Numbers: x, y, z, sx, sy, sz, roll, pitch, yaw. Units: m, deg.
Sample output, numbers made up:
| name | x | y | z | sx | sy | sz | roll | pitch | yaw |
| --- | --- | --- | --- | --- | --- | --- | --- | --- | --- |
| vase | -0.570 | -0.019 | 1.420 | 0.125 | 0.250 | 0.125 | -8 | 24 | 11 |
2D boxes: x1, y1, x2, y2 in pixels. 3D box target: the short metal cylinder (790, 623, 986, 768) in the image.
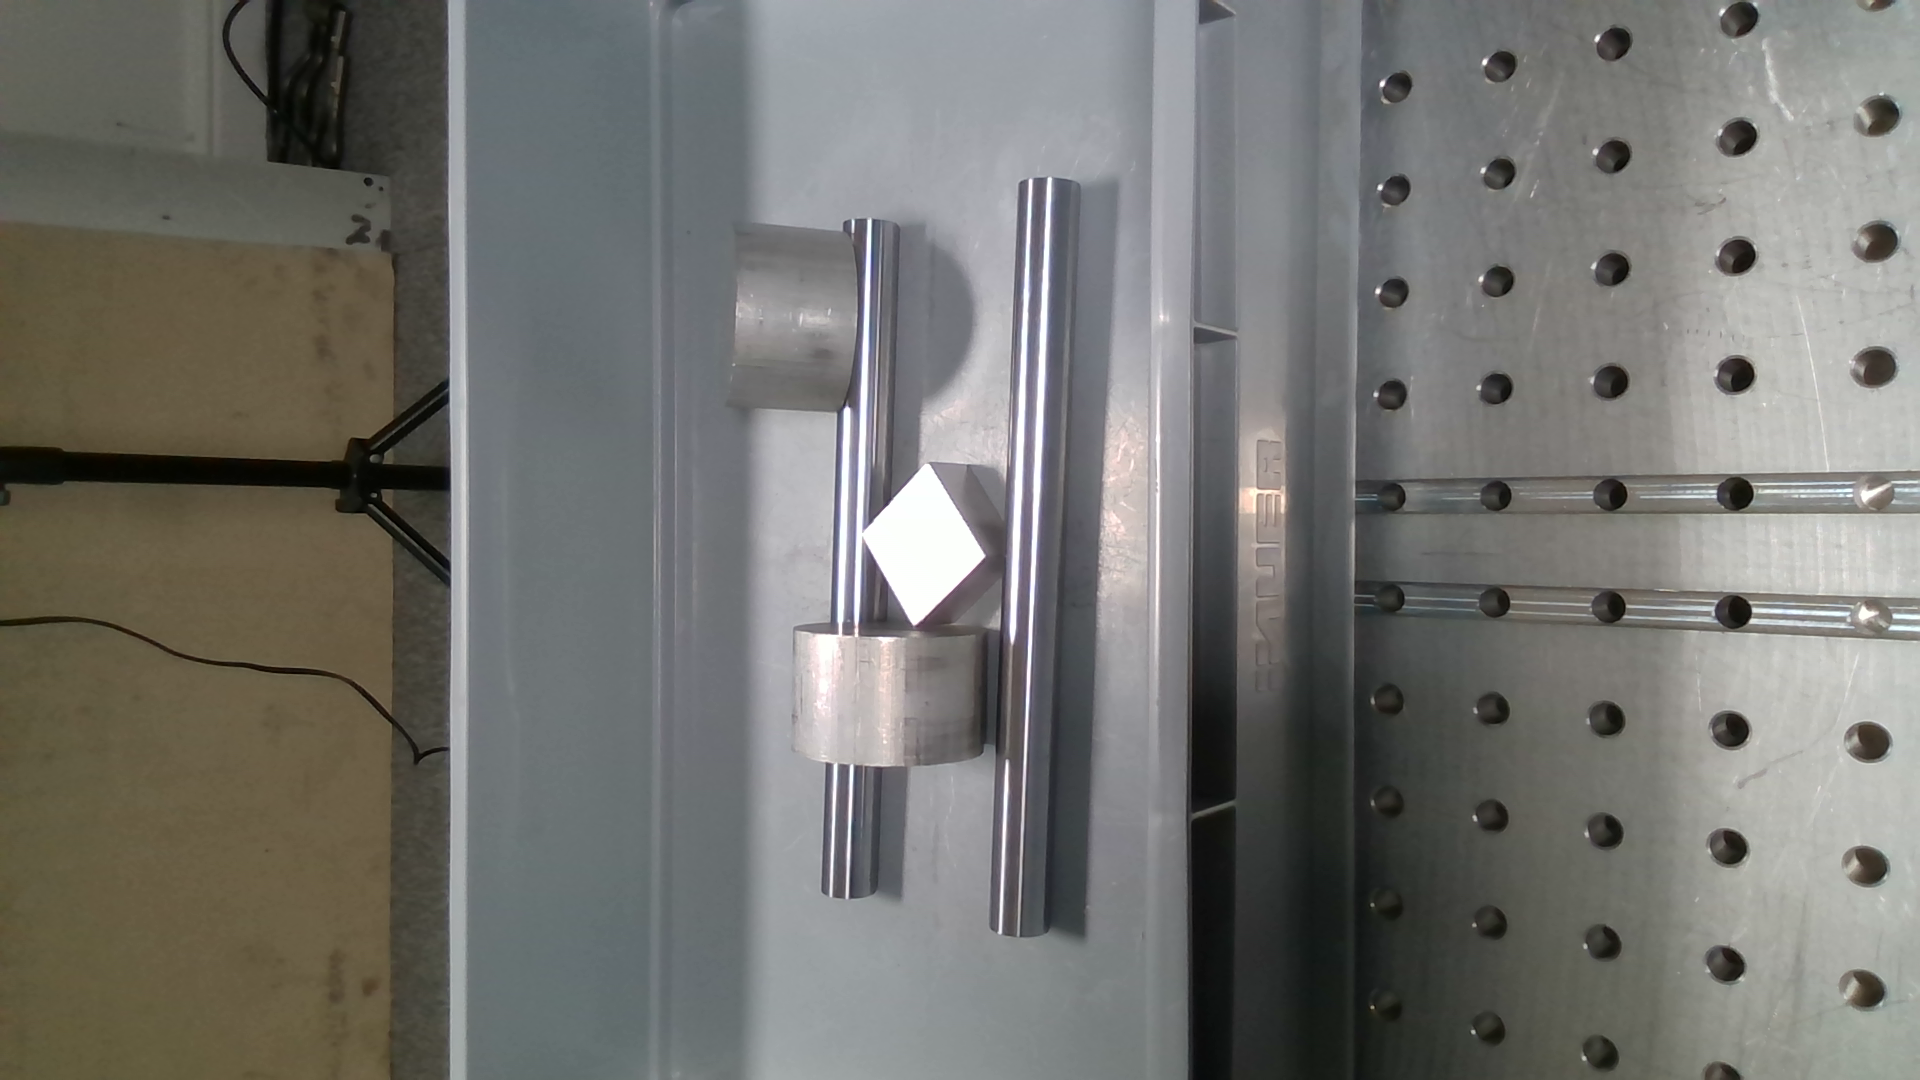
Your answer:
| name | x | y | z | sx | sy | sz | roll | pitch | yaw |
| --- | --- | --- | --- | --- | --- | --- | --- | --- | --- |
| short metal cylinder | -0.030 | 0.062 | 0.571 | 0.080 | 0.080 | 0.050 | 2 | 92 | 40 |

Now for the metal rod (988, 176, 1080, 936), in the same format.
| name | x | y | z | sx | sy | sz | roll | pitch | yaw |
| --- | --- | --- | --- | --- | --- | --- | --- | --- | --- |
| metal rod | 0.029 | 0.008 | 0.555 | 0.025 | 0.025 | 0.300 | 4 | 93 | 40 |

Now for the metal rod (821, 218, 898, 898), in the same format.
| name | x | y | z | sx | sy | sz | roll | pitch | yaw |
| --- | --- | --- | --- | --- | --- | --- | --- | --- | --- |
| metal rod | -0.045 | 0.009 | 0.618 | 0.025 | 0.025 | 0.300 | 4 | 93 | 40 |

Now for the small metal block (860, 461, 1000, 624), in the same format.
| name | x | y | z | sx | sy | sz | roll | pitch | yaw |
| --- | --- | --- | --- | --- | --- | --- | --- | --- | --- |
| small metal block | -0.009 | 0.002 | 0.588 | 0.050 | 0.025 | 0.050 | -46 | 63 | 31 |

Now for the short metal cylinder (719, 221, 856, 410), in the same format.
| name | x | y | z | sx | sy | sz | roll | pitch | yaw |
| --- | --- | --- | --- | --- | --- | --- | --- | --- | --- |
| short metal cylinder | -0.078 | -0.098 | 0.606 | 0.080 | 0.050 | 0.080 | -179 | 91 | -74 |
